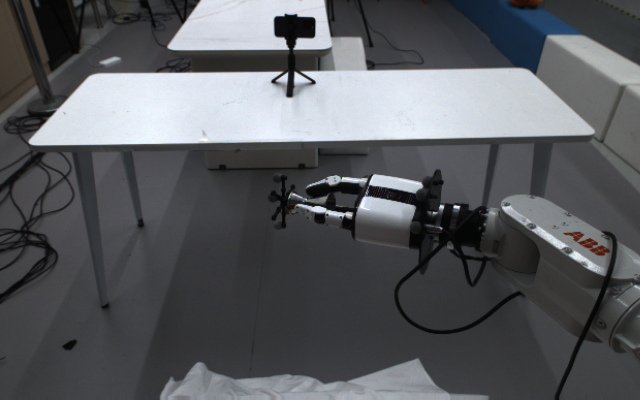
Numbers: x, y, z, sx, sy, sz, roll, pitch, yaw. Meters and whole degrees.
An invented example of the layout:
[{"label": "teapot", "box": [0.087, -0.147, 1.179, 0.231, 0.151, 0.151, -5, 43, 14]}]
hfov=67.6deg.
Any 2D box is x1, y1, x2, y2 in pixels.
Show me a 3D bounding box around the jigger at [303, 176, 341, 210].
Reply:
[{"label": "jigger", "box": [-0.008, 0.004, 0.787, 0.071, 0.043, 0.043, 5, 33, 22]}]
